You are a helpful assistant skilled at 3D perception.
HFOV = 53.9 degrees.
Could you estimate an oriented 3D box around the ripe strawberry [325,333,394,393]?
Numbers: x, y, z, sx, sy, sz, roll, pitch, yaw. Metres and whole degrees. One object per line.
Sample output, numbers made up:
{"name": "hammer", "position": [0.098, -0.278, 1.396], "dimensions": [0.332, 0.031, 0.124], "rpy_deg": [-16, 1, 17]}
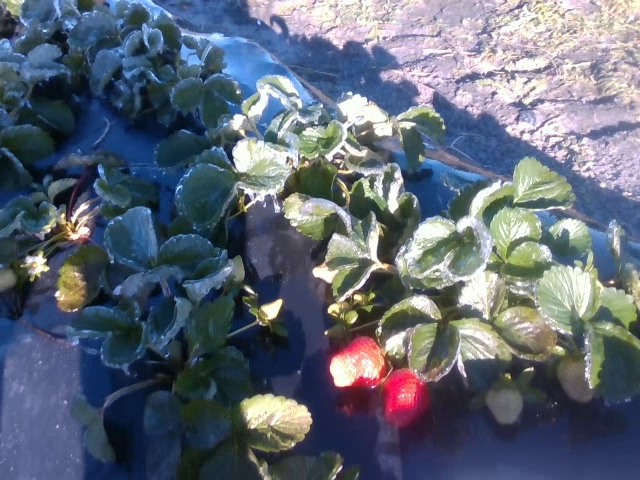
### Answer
{"name": "ripe strawberry", "position": [0.036, 0.127, 0.607], "dimensions": [0.069, 0.053, 0.040], "rpy_deg": [-30, -27, -13]}

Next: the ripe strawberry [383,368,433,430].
{"name": "ripe strawberry", "position": [0.076, 0.144, 0.573], "dimensions": [0.043, 0.059, 0.040], "rpy_deg": [3, -35, 17]}
